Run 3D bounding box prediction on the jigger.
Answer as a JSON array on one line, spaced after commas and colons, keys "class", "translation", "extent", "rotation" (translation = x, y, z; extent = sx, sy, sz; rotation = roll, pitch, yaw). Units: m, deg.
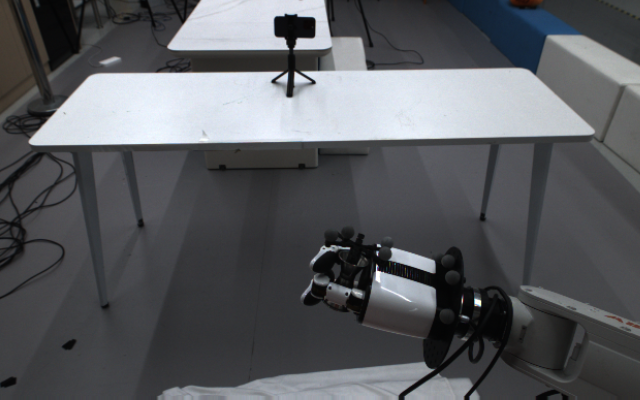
[{"class": "jigger", "translation": [0.037, 0.105, 0.634], "extent": [0.043, 0.071, 0.043], "rotation": [15, 17, -5]}]
